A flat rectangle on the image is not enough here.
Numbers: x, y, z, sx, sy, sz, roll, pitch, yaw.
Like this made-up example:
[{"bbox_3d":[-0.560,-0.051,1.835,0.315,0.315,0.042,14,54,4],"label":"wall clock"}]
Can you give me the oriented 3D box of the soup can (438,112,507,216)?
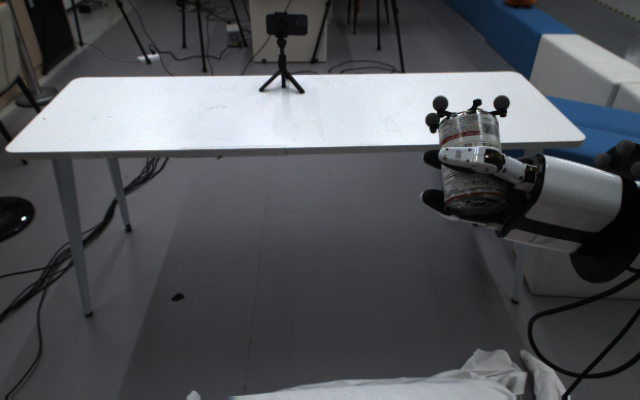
[{"bbox_3d":[0.172,-0.041,0.544,0.067,0.067,0.101,1,72,-2],"label":"soup can"}]
